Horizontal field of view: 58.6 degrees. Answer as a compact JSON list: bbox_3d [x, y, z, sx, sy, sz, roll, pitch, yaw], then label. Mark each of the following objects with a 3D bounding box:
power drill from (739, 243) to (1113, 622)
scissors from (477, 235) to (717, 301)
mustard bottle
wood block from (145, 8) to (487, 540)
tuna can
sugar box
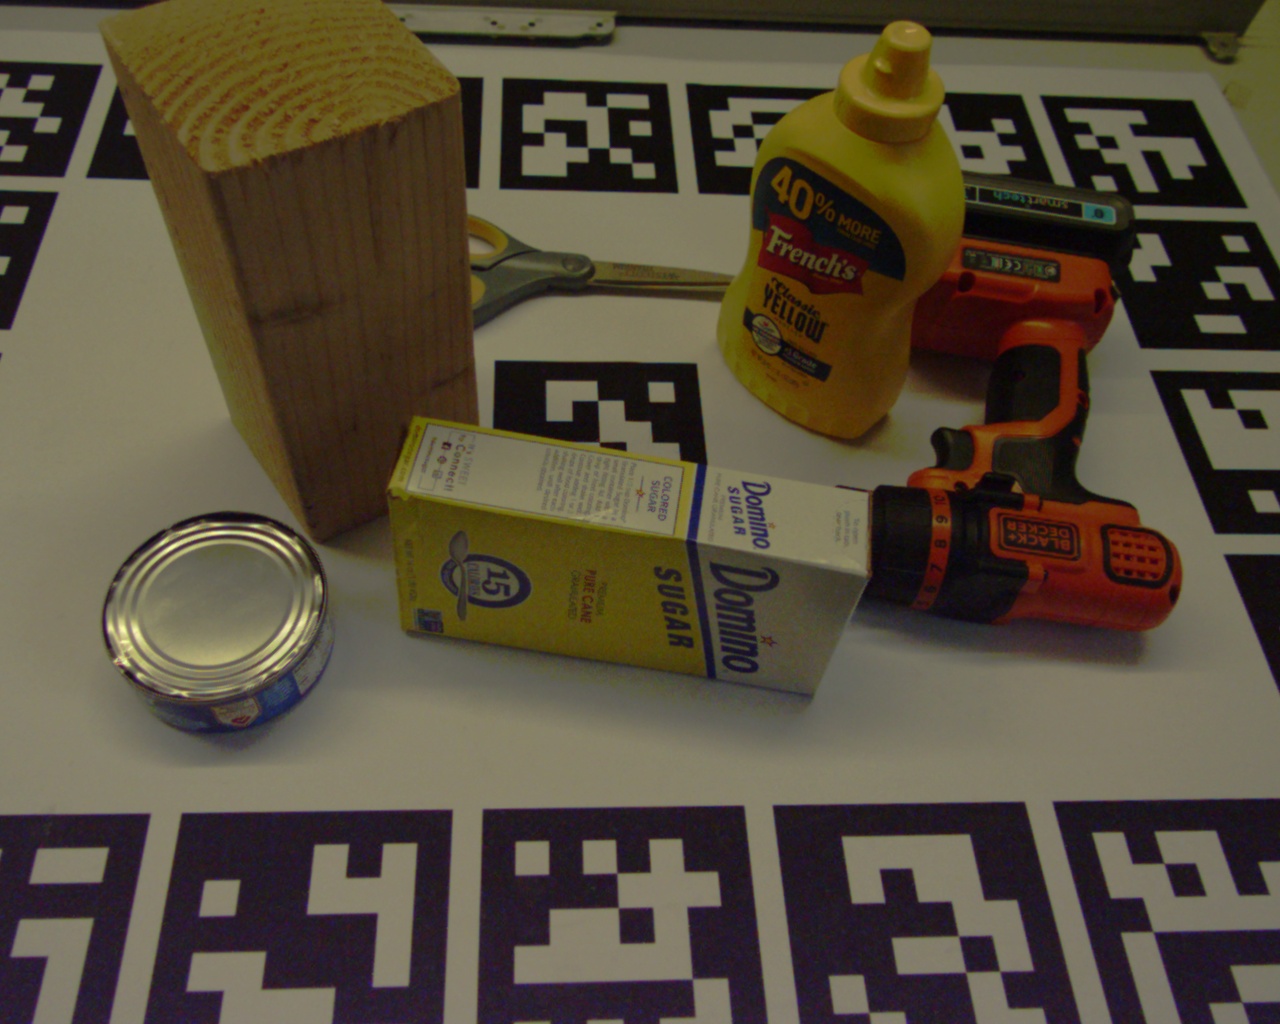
[{"bbox_3d":[0.134,-0.044,0.554,0.185,0.057,0.187,11,64,3],"label":"power drill"},{"bbox_3d":[-0.059,-0.129,0.619,0.202,0.016,0.088,2,53,-3],"label":"scissors"},{"bbox_3d":[0.089,-0.119,0.530,0.058,0.191,0.097,-37,69,-24],"label":"mustard bottle"},{"bbox_3d":[-0.127,-0.090,0.488,0.090,0.206,0.090,-25,64,-20],"label":"wood block"},{"bbox_3d":[-0.168,0.041,0.488,0.085,0.033,0.086,2,58,-4],"label":"tuna can"},{"bbox_3d":[-0.002,0.021,0.484,0.176,0.093,0.045,11,54,1],"label":"sugar box"}]
